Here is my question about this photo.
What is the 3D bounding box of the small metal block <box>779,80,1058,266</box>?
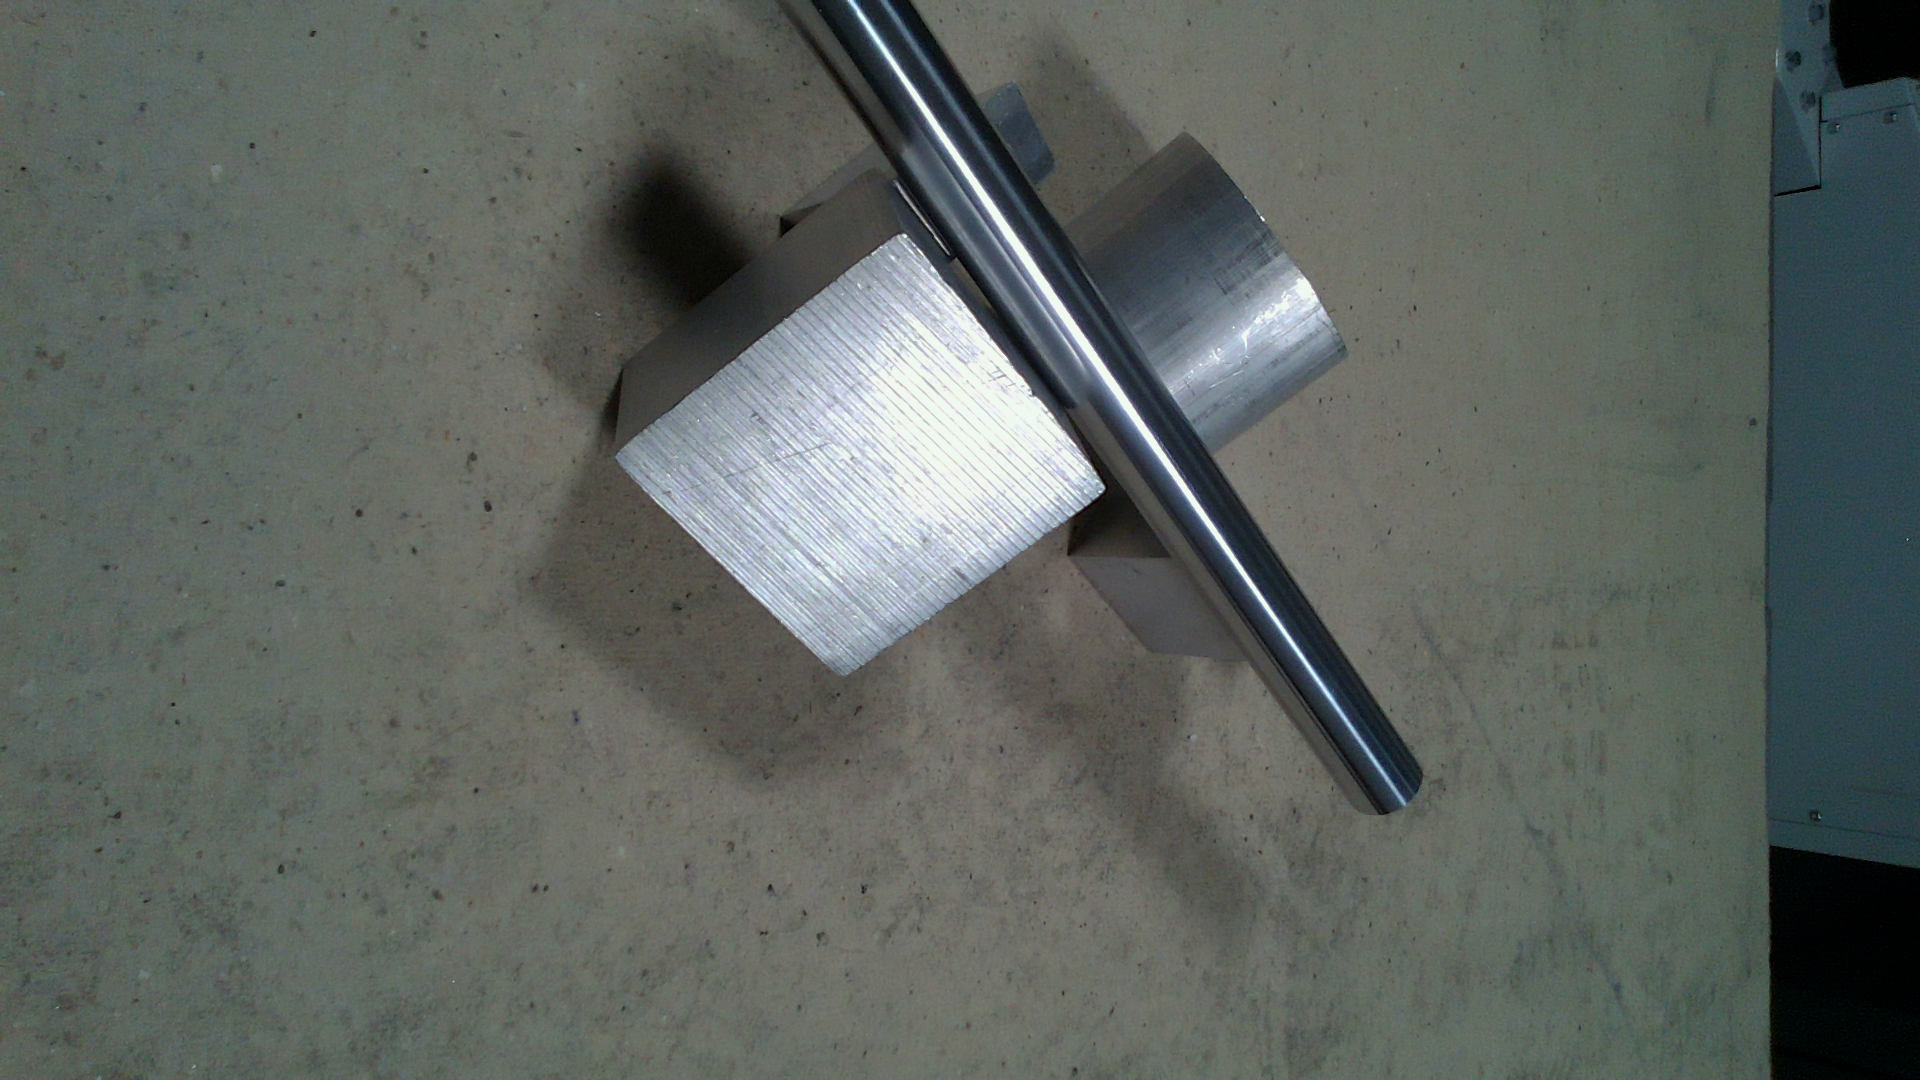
[{"bbox_3d":[-0.011,-0.092,0.364,0.050,0.050,0.025,-46,118,-30],"label":"small metal block"}]

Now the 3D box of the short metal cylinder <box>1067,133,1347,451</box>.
[{"bbox_3d":[0.068,-0.070,0.402,0.050,0.080,0.080,-37,121,12],"label":"short metal cylinder"}]

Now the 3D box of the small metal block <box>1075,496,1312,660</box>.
[{"bbox_3d":[0.073,0.012,0.430,0.050,0.050,0.025,48,62,-29],"label":"small metal block"}]

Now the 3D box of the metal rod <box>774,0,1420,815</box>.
[{"bbox_3d":[0.049,-0.026,0.366,0.301,0.025,0.025,51,60,-28],"label":"metal rod"}]

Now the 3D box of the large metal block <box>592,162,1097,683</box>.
[{"bbox_3d":[-0.027,-0.027,0.327,0.080,0.050,0.080,-36,120,10],"label":"large metal block"}]
